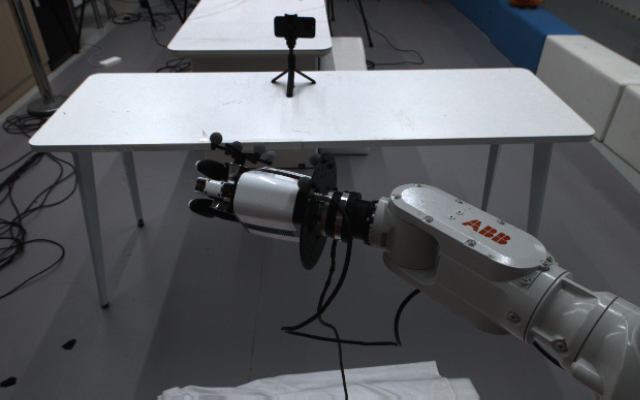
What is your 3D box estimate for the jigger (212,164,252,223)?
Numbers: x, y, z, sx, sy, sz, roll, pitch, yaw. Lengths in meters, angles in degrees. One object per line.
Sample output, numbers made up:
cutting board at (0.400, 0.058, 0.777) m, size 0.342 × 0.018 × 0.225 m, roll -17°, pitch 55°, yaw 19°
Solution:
jigger at (-0.122, -0.015, 0.681) m, size 0.043 × 0.071 × 0.043 m, roll 15°, pitch -7°, yaw 2°
